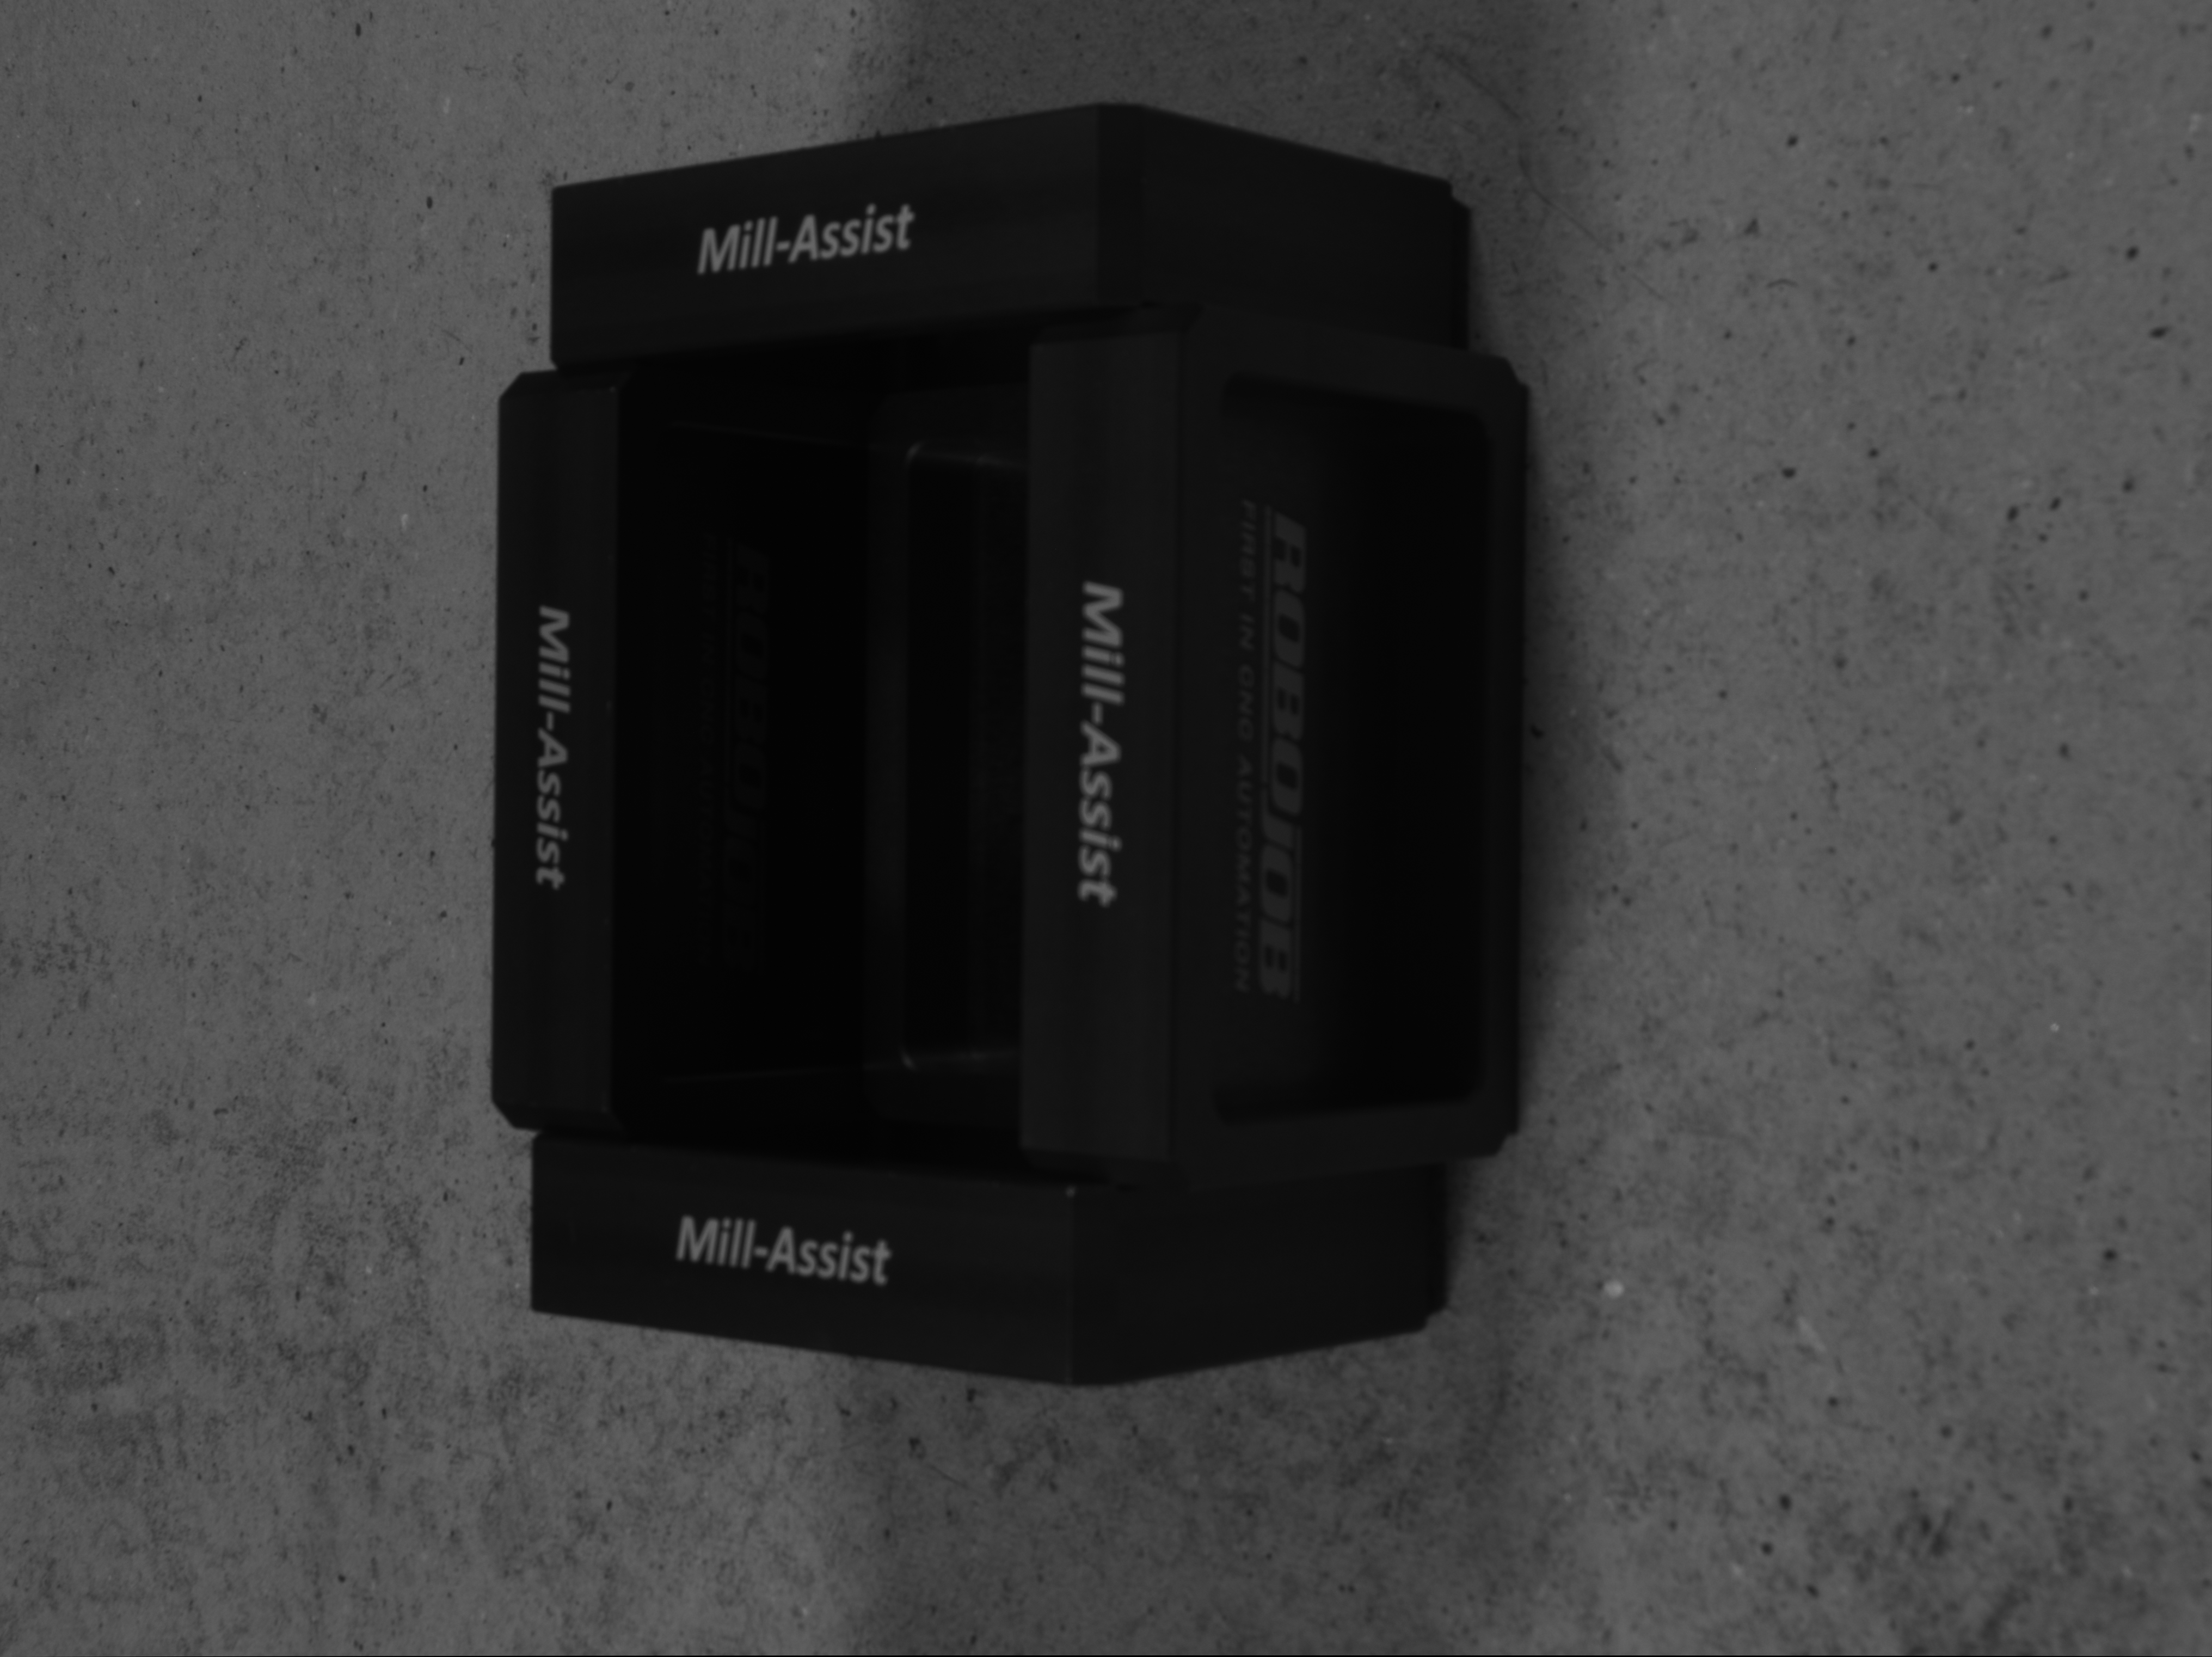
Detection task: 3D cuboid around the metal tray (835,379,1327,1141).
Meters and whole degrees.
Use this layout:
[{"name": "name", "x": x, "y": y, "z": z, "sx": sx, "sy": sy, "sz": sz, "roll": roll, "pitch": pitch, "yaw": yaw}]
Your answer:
[{"name": "metal tray", "x": -0.004, "y": -0.012, "z": 0.637, "sx": 0.090, "sy": 0.030, "sz": 0.130, "roll": 1, "pitch": 90, "yaw": 39}]

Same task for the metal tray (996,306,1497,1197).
[{"name": "metal tray", "x": 0.024, "y": -0.011, "z": 0.574, "sx": 0.030, "sy": 0.090, "sz": 0.130, "roll": 1, "pitch": 90, "yaw": 39}]

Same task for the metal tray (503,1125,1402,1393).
[{"name": "metal tray", "x": -0.027, "y": 0.068, "z": 0.615, "sx": 0.130, "sy": 0.090, "sz": 0.030, "roll": 1, "pitch": 90, "yaw": 39}]

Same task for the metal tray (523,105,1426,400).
[{"name": "metal tray", "x": -0.023, "y": -0.092, "z": 0.613, "sx": 0.130, "sy": 0.090, "sz": 0.030, "roll": 1, "pitch": 90, "yaw": 39}]

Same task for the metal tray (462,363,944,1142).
[{"name": "metal tray", "x": -0.070, "y": -0.013, "z": 0.651, "sx": 0.030, "sy": 0.090, "sz": 0.130, "roll": 1, "pitch": 90, "yaw": 39}]
